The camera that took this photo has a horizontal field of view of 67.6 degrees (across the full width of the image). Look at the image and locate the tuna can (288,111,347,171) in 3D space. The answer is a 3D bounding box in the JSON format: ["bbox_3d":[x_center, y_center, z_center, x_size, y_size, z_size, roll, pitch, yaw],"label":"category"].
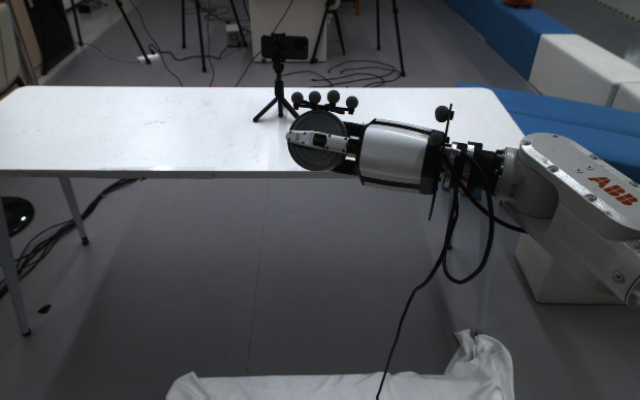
[{"bbox_3d":[-0.001,-0.084,0.685,0.085,0.085,0.034,11,2,13],"label":"tuna can"}]
